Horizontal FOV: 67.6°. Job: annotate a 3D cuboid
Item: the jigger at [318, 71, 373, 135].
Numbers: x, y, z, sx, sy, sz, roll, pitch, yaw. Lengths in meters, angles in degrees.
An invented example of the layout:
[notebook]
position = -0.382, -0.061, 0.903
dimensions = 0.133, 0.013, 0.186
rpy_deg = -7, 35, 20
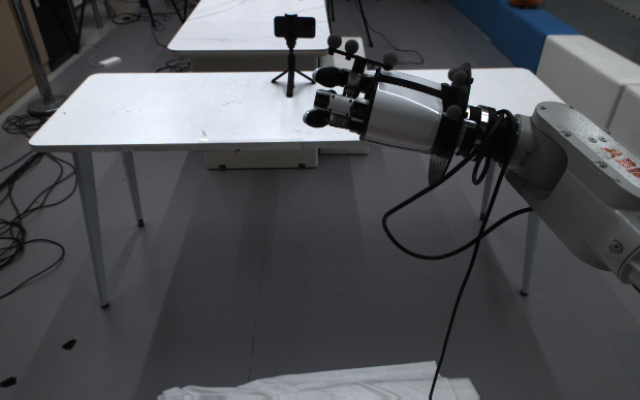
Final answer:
[jigger]
position = 0.039, -0.128, 0.618
dimensions = 0.043, 0.071, 0.043
rpy_deg = 15, 17, -5
